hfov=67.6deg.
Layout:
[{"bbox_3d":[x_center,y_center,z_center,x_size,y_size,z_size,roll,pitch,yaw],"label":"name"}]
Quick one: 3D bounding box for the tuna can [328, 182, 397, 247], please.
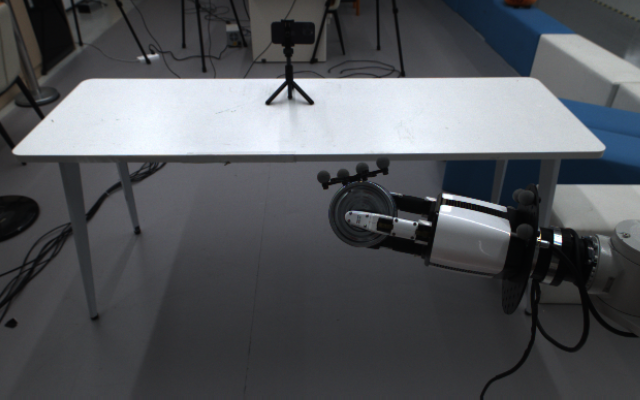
[{"bbox_3d":[0.059,0.023,0.618,0.085,0.085,0.034,12,3,14],"label":"tuna can"}]
